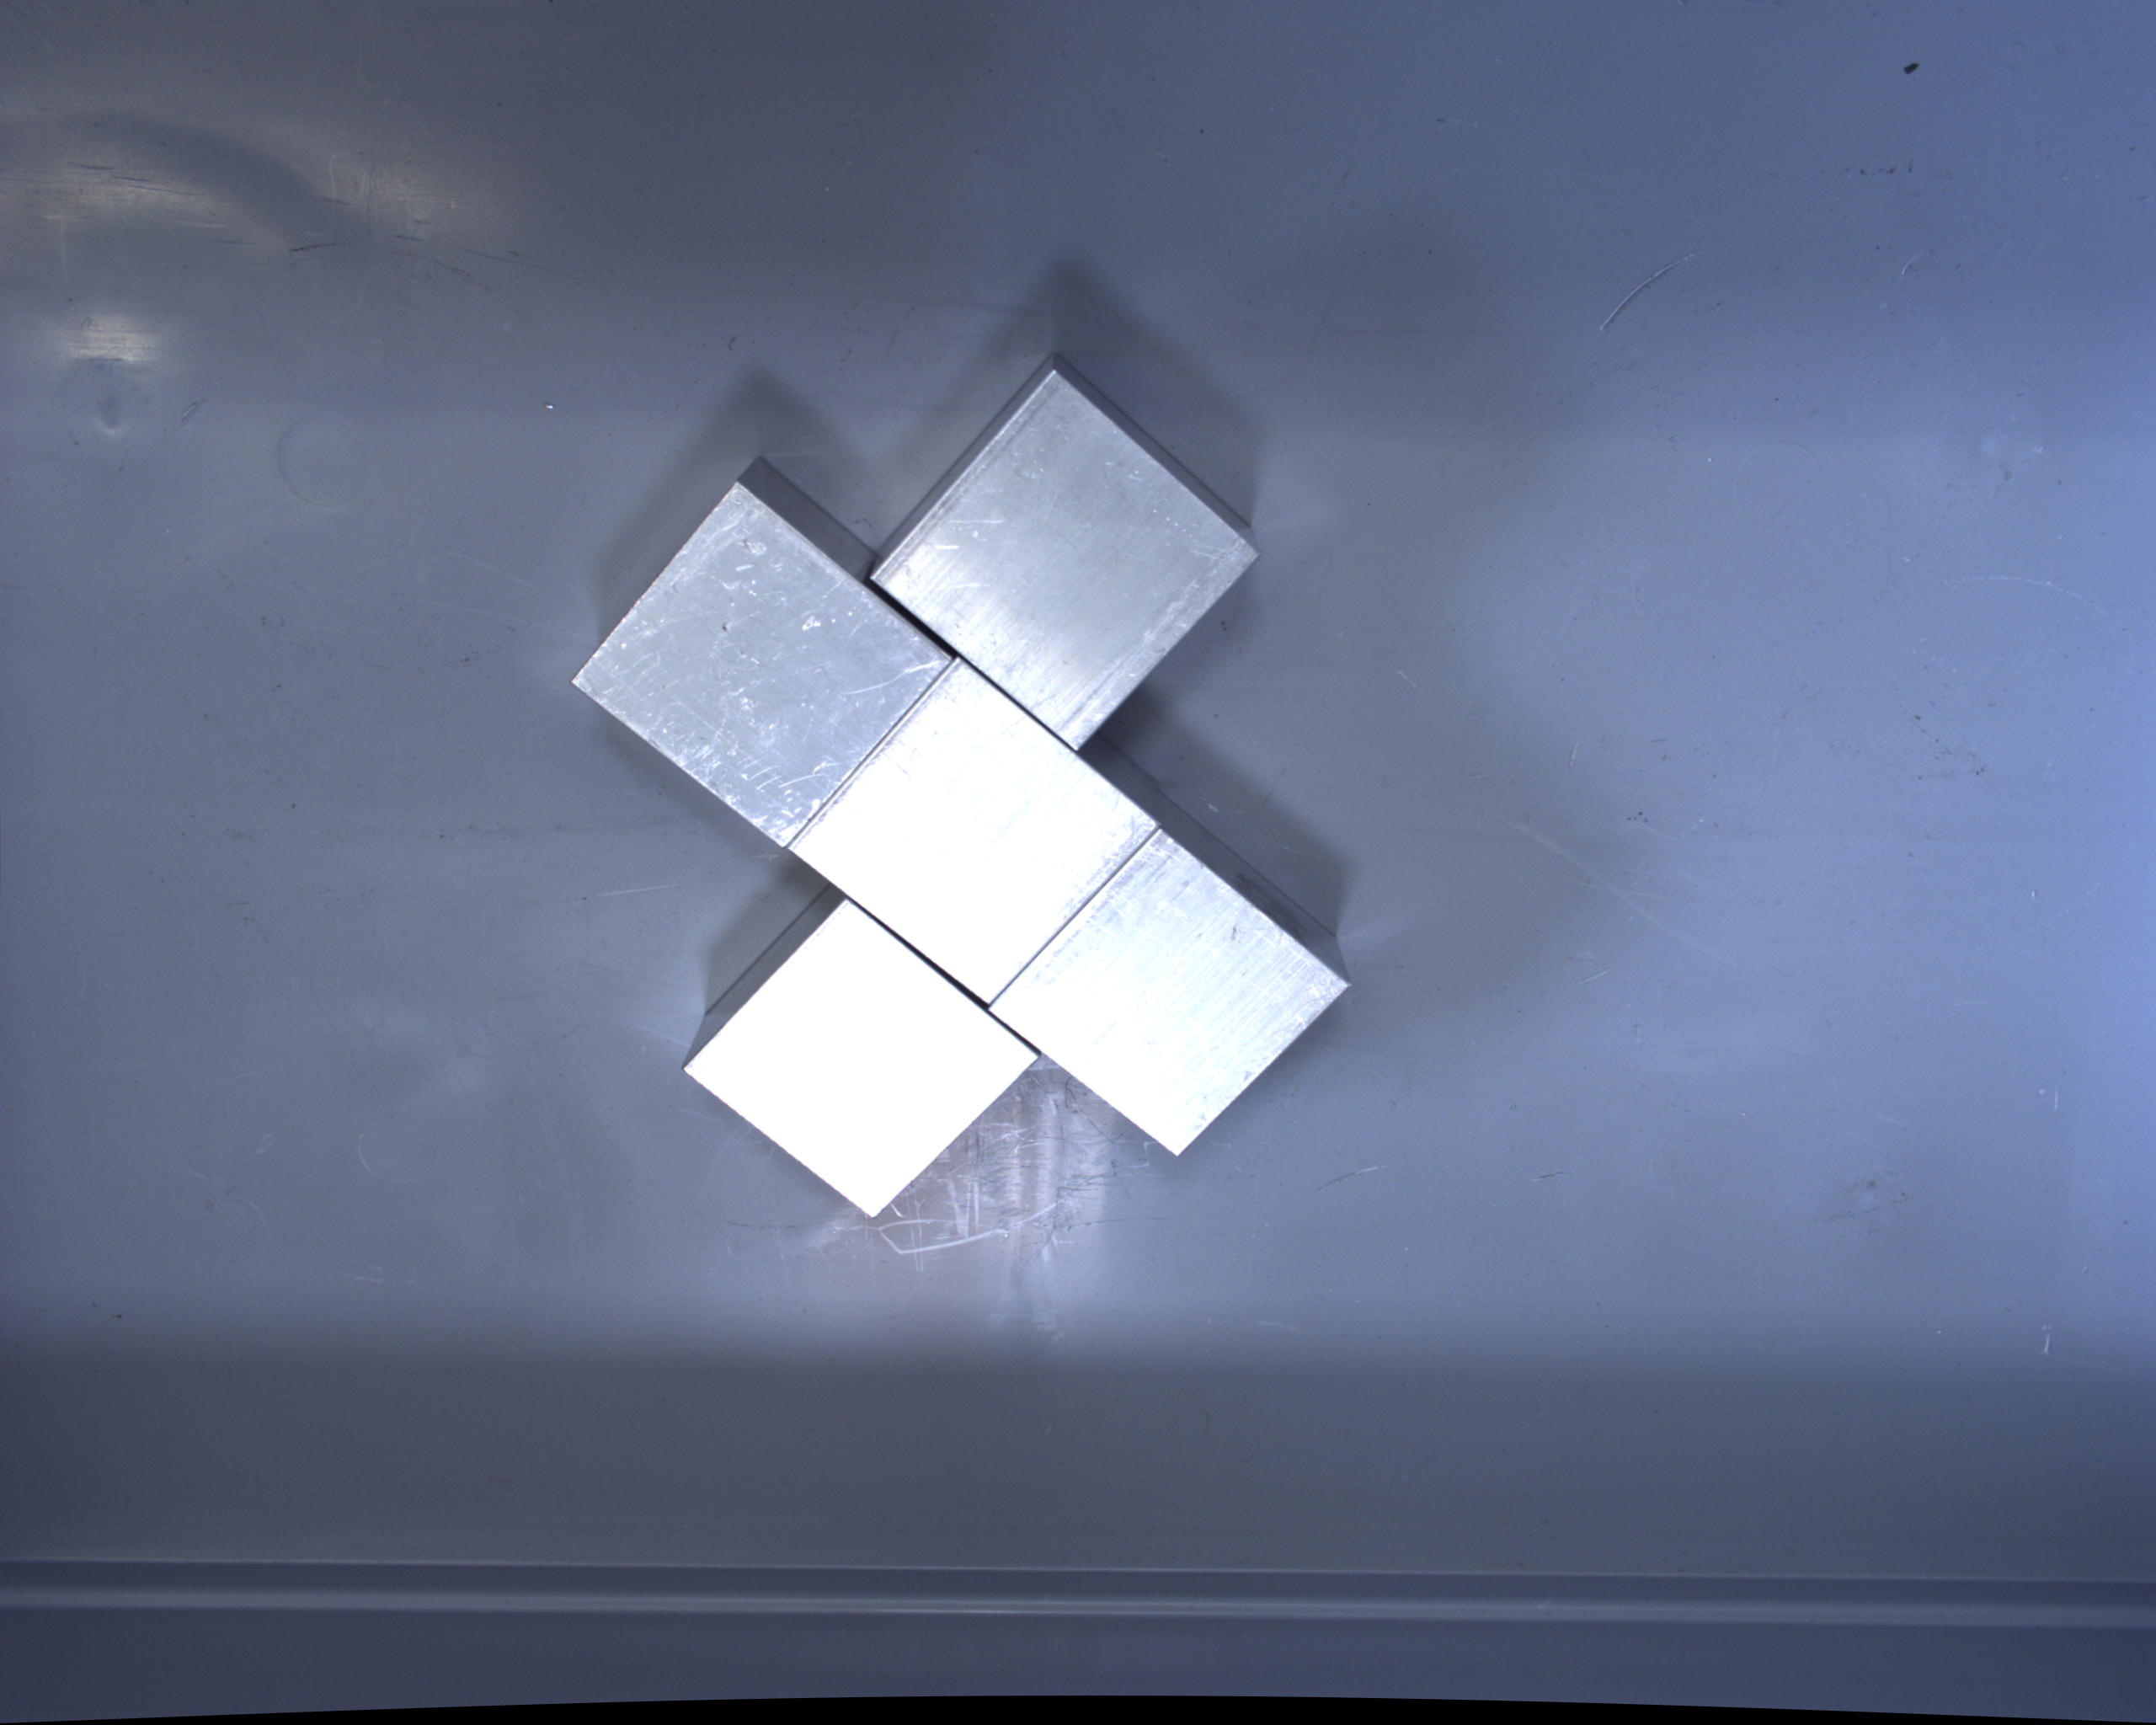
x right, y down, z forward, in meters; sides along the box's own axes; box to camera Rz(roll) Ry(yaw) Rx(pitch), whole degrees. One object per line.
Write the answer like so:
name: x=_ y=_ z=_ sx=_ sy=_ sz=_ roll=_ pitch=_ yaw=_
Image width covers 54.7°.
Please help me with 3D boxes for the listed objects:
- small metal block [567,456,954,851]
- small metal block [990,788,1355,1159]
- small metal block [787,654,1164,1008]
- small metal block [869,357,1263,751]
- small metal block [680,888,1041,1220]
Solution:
small metal block: x=-0.058 y=-0.039 z=0.394 sx=0.050 sy=0.025 sz=0.050 roll=40 pitch=105 yaw=-14
small metal block: x=0.018 y=0.022 z=0.417 sx=0.050 sy=0.025 sz=0.050 roll=40 pitch=105 yaw=-14
small metal block: x=-0.019 y=-0.009 z=0.405 sx=0.050 sy=0.025 sz=0.050 roll=40 pitch=105 yaw=-14
small metal block: x=-0.002 y=-0.058 z=0.387 sx=0.050 sy=0.025 sz=0.050 roll=40 pitch=104 yaw=-14
small metal block: x=-0.043 y=0.035 z=0.422 sx=0.050 sy=0.025 sz=0.050 roll=41 pitch=106 yaw=-14
